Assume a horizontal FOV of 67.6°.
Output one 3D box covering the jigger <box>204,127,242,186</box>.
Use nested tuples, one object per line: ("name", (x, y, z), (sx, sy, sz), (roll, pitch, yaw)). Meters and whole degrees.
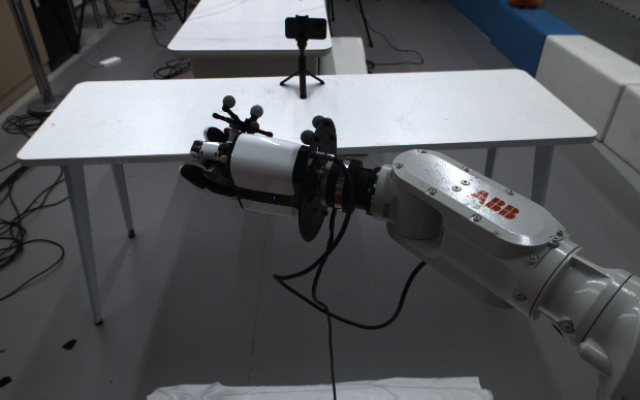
("jigger", (-0.123, -0.059, 0.650), (0.043, 0.043, 0.071), (15, 71, 18))
